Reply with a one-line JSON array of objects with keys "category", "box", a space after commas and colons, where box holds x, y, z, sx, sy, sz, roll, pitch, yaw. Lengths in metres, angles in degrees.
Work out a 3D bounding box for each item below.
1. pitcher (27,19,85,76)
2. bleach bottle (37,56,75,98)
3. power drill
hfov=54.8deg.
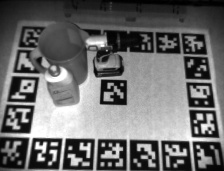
[{"category": "pitcher", "box": [-0.167, -0.114, 0.728, 0.189, 0.243, 0.132, -23, 75, -8]}, {"category": "bleach bottle", "box": [-0.183, -0.025, 0.677, 0.103, 0.251, 0.067, -5, 72, -2]}, {"category": "power drill", "box": [0.001, -0.120, 0.746, 0.185, 0.187, 0.057, -1, 74, -7]}]
